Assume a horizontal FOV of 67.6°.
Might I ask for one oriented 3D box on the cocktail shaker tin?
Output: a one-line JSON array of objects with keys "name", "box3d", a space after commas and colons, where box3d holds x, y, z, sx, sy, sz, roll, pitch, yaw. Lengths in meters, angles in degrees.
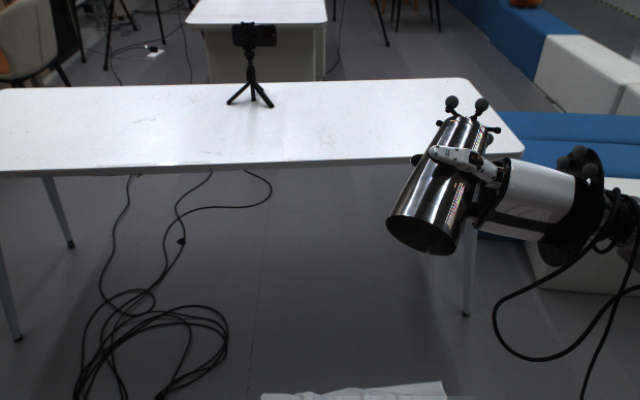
[{"name": "cocktail shaker tin", "box3d": [0.163, -0.028, 0.626, 0.093, 0.093, 0.170, 18, 66, 21]}]
